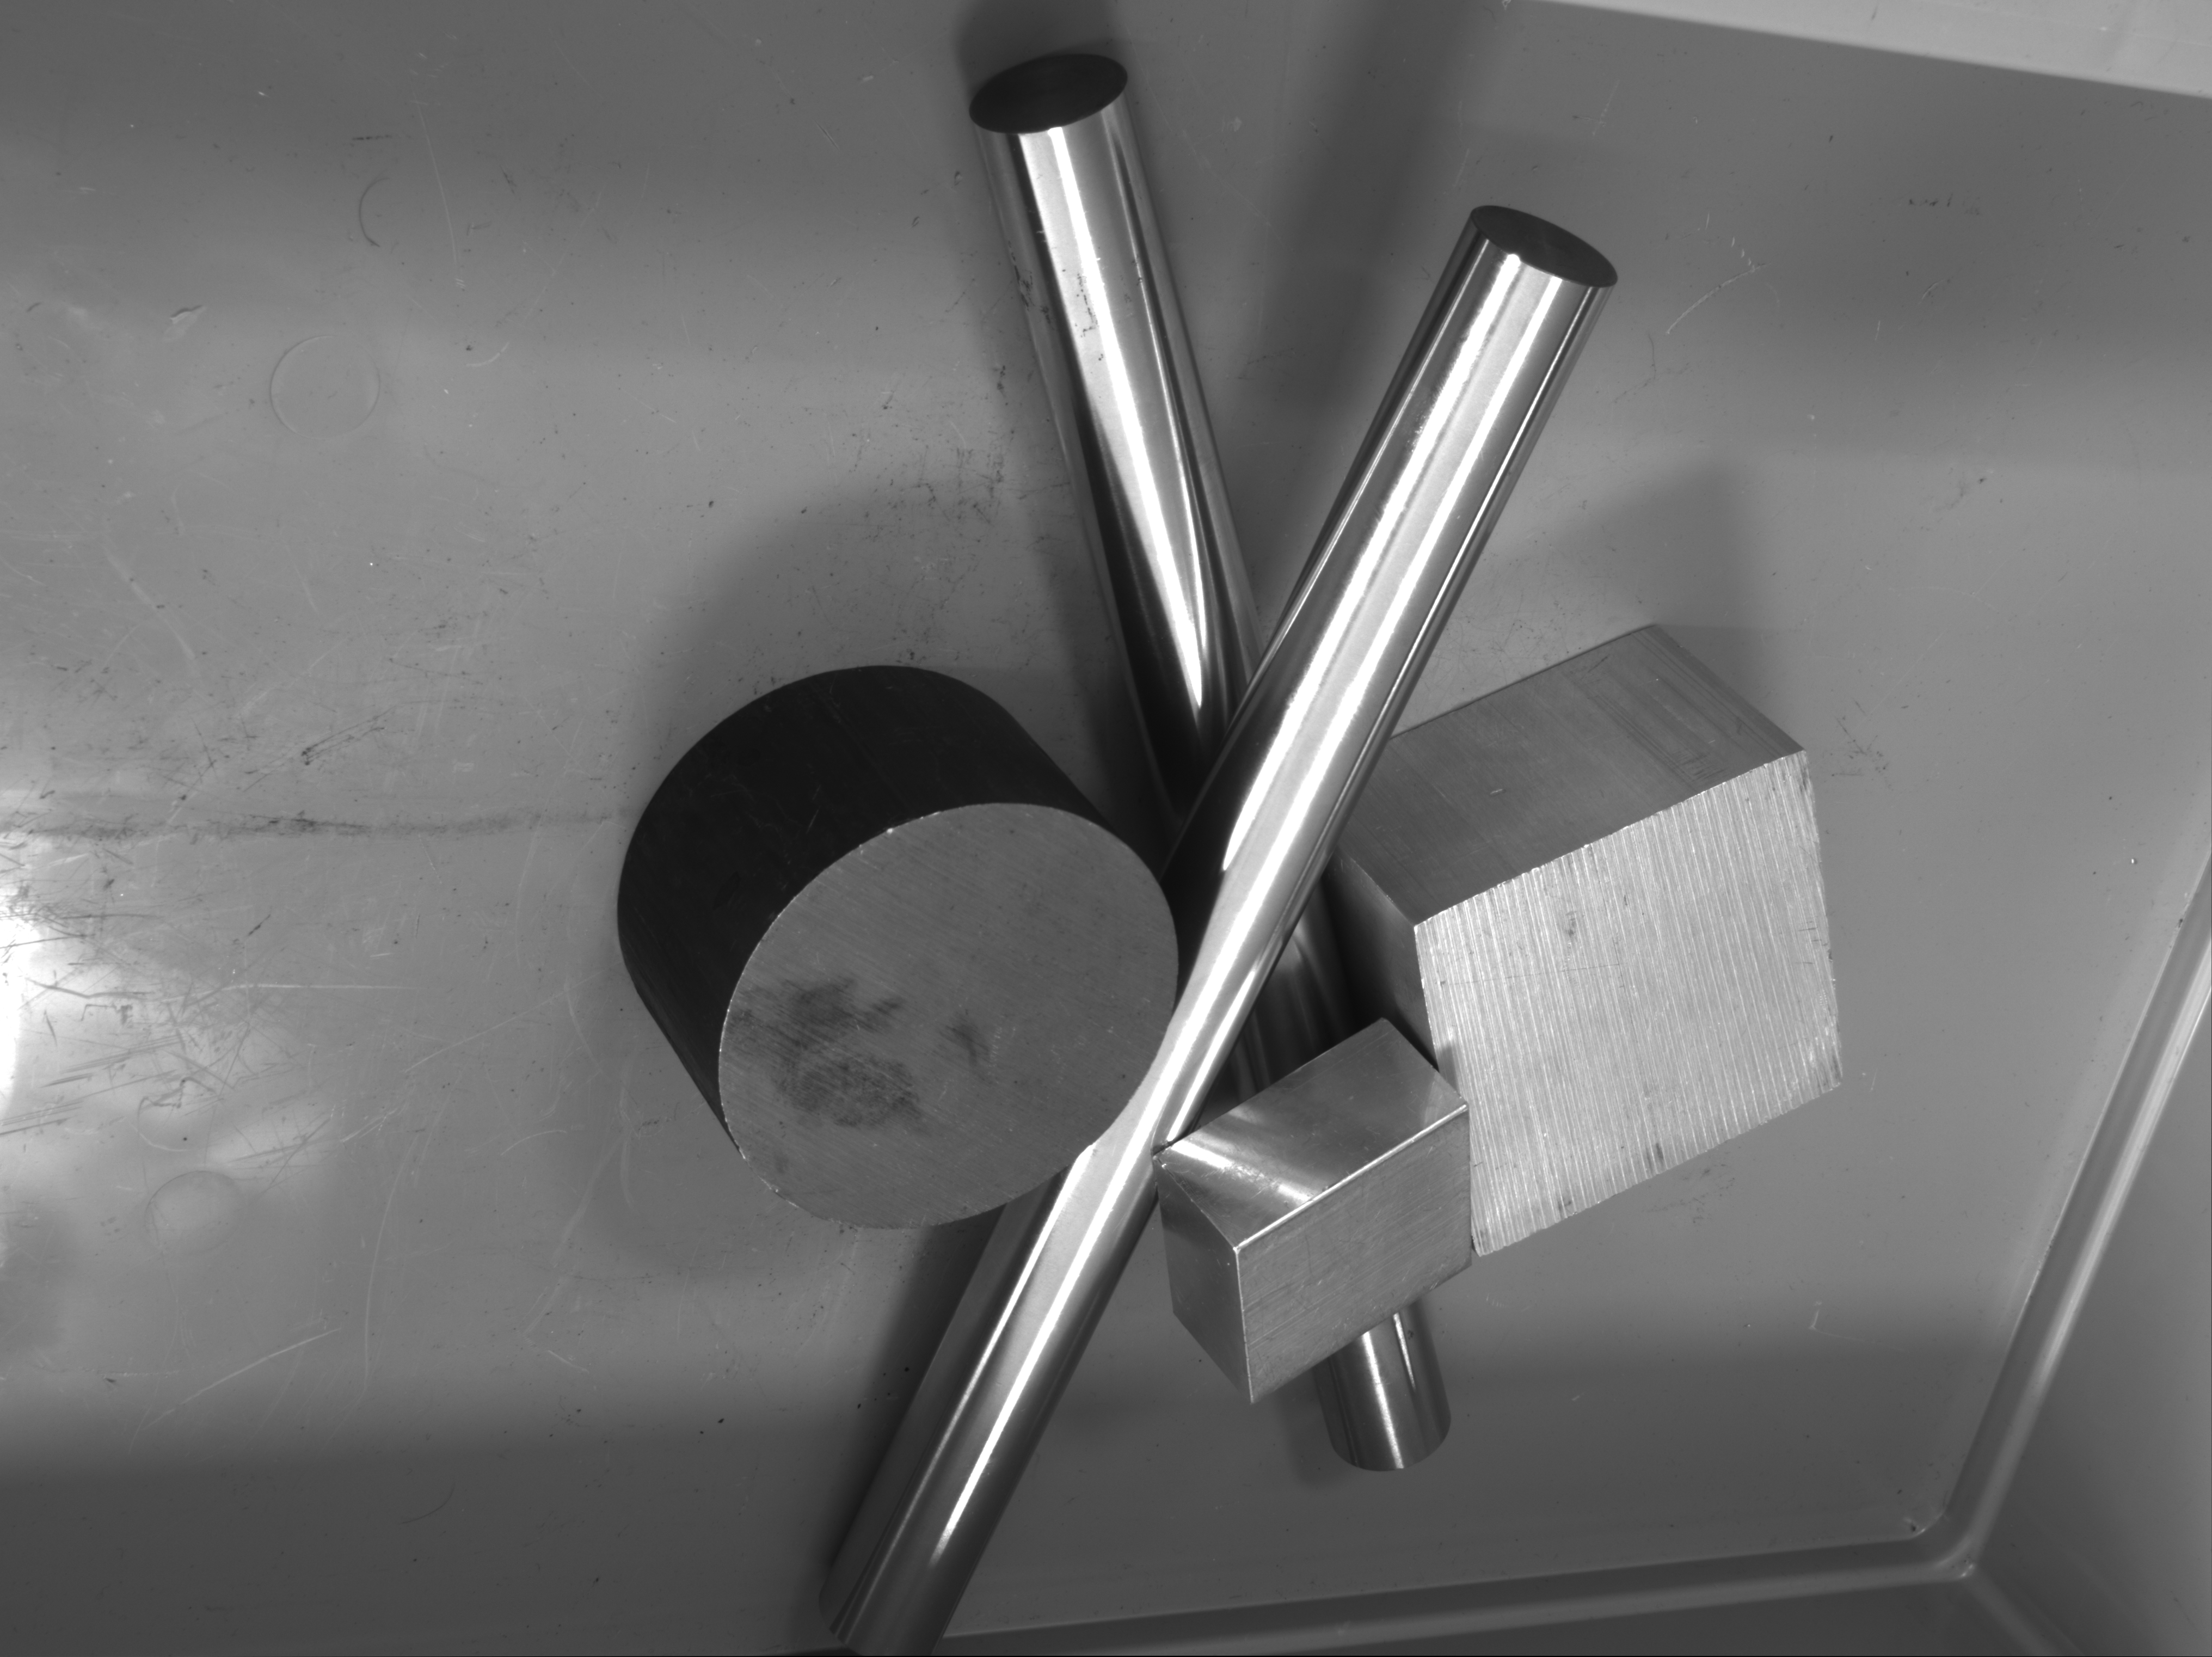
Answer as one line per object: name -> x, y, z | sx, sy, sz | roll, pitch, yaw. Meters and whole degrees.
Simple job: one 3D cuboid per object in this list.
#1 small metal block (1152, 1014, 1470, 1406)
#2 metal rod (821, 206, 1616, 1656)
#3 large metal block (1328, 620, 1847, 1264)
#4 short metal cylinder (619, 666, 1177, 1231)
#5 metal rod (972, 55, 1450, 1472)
small metal block -> 0.037, 0.068, 0.657 | 0.050, 0.025, 0.050 | -30, 143, -19
metal rod -> 0.012, 0.031, 0.636 | 0.025, 0.025, 0.300 | 6, 123, -31
large metal block -> 0.085, 0.021, 0.678 | 0.080, 0.050, 0.080 | -25, 127, -13
short metal cylinder -> -0.035, 0.020, 0.614 | 0.080, 0.050, 0.080 | -14, 124, -21
metal rod -> 0.024, 0.004, 0.651 | 0.025, 0.025, 0.300 | -25, 128, -13
